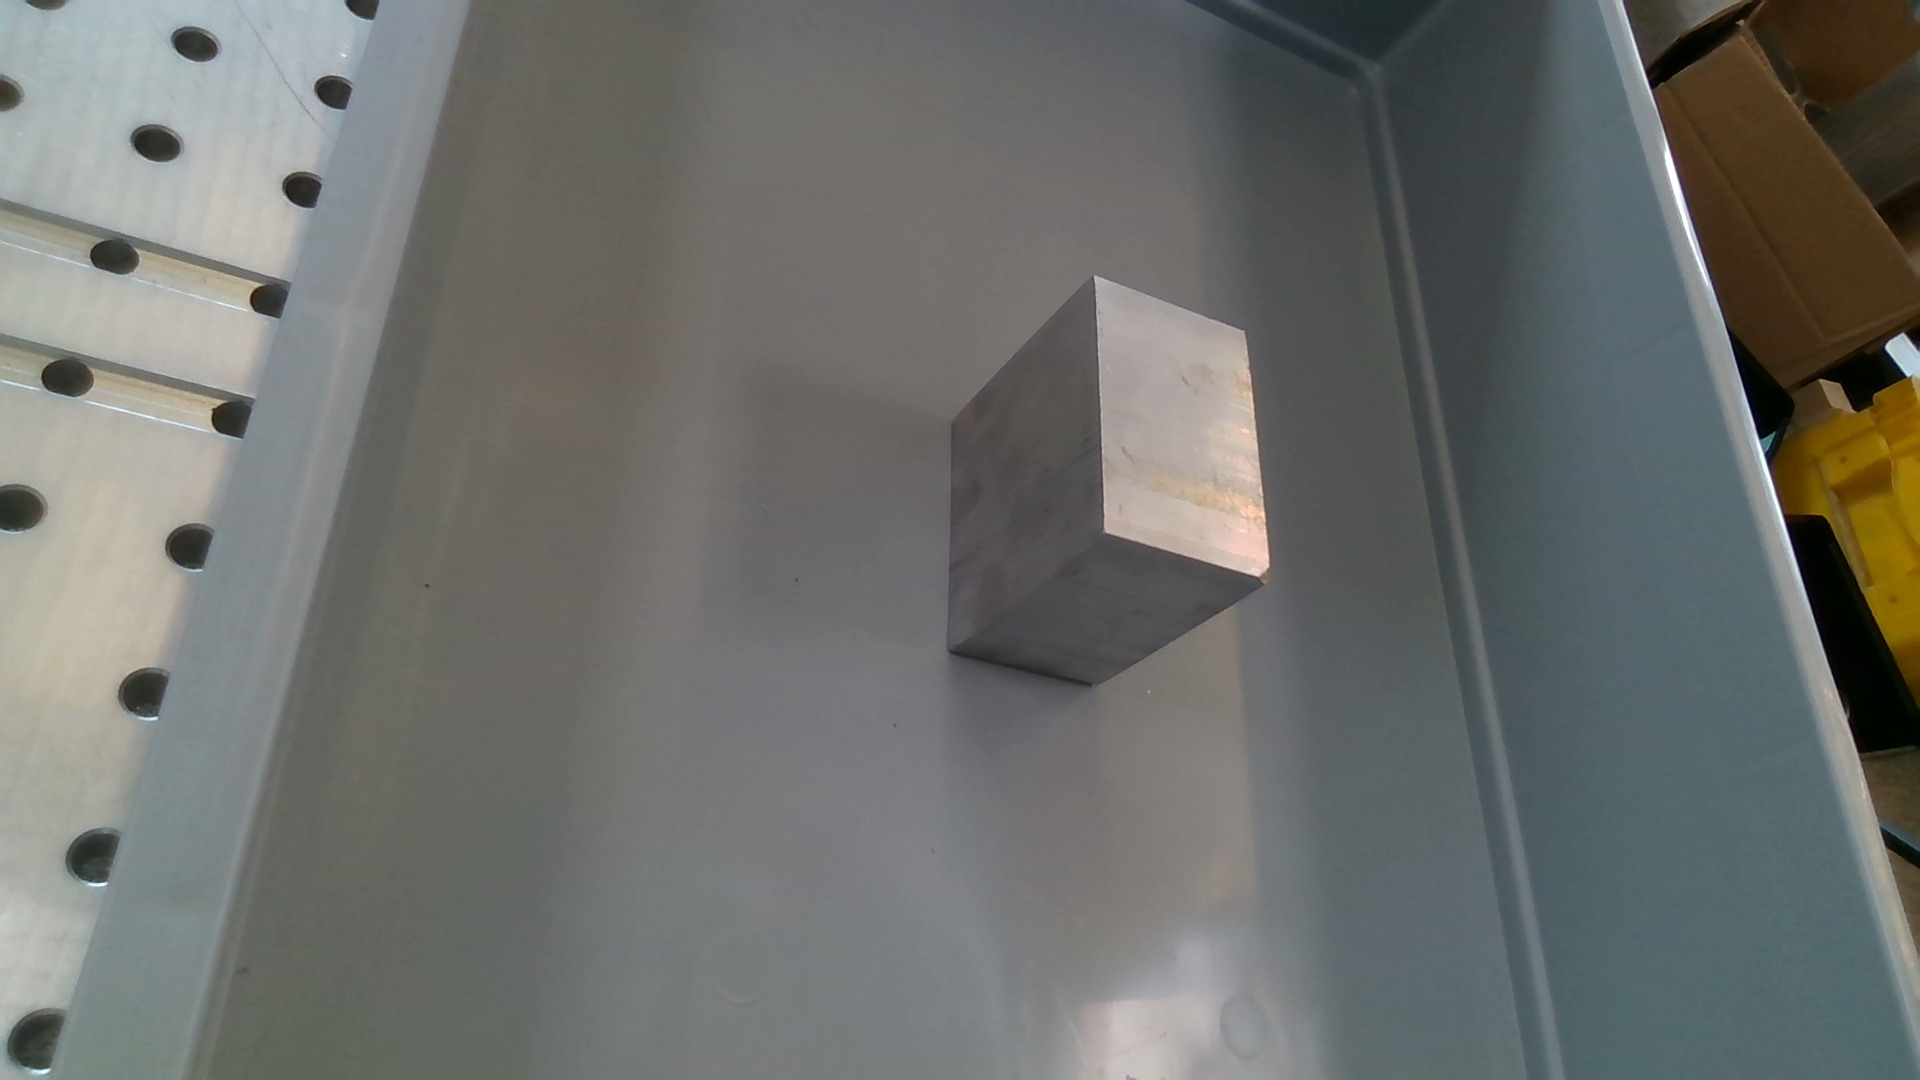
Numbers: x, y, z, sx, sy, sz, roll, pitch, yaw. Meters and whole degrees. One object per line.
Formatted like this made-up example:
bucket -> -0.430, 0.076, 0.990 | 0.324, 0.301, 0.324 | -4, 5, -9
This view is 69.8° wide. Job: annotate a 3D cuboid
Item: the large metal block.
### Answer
large metal block -> 0.038, -0.014, 0.386 | 0.050, 0.080, 0.080 | 15, 59, -24
